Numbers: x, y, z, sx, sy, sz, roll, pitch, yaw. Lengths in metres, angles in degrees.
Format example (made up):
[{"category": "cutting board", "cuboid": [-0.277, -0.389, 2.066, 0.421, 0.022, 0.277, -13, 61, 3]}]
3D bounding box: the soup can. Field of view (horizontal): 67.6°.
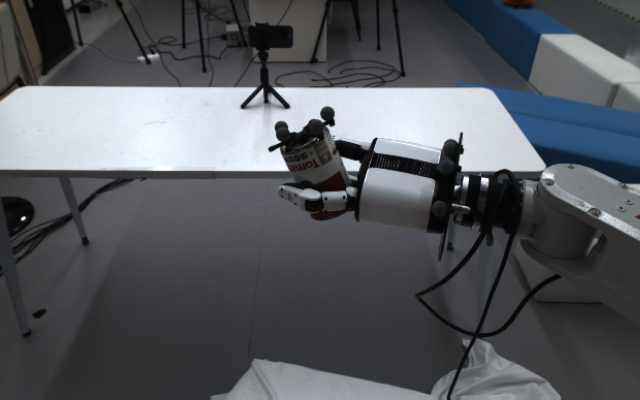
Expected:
[{"category": "soup can", "cuboid": [0.001, -0.034, 0.618, 0.067, 0.101, 0.067, -21, 24, 10]}]
